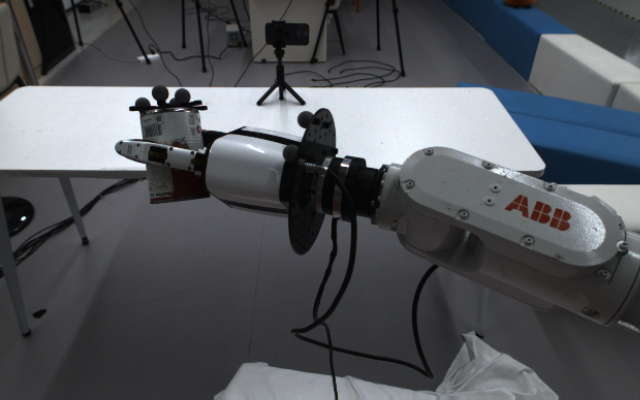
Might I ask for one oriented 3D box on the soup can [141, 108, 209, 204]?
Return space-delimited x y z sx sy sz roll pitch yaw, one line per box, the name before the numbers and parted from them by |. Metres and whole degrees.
soup can | -0.165 -0.048 0.556 0.067 0.101 0.067 -7 2 0
